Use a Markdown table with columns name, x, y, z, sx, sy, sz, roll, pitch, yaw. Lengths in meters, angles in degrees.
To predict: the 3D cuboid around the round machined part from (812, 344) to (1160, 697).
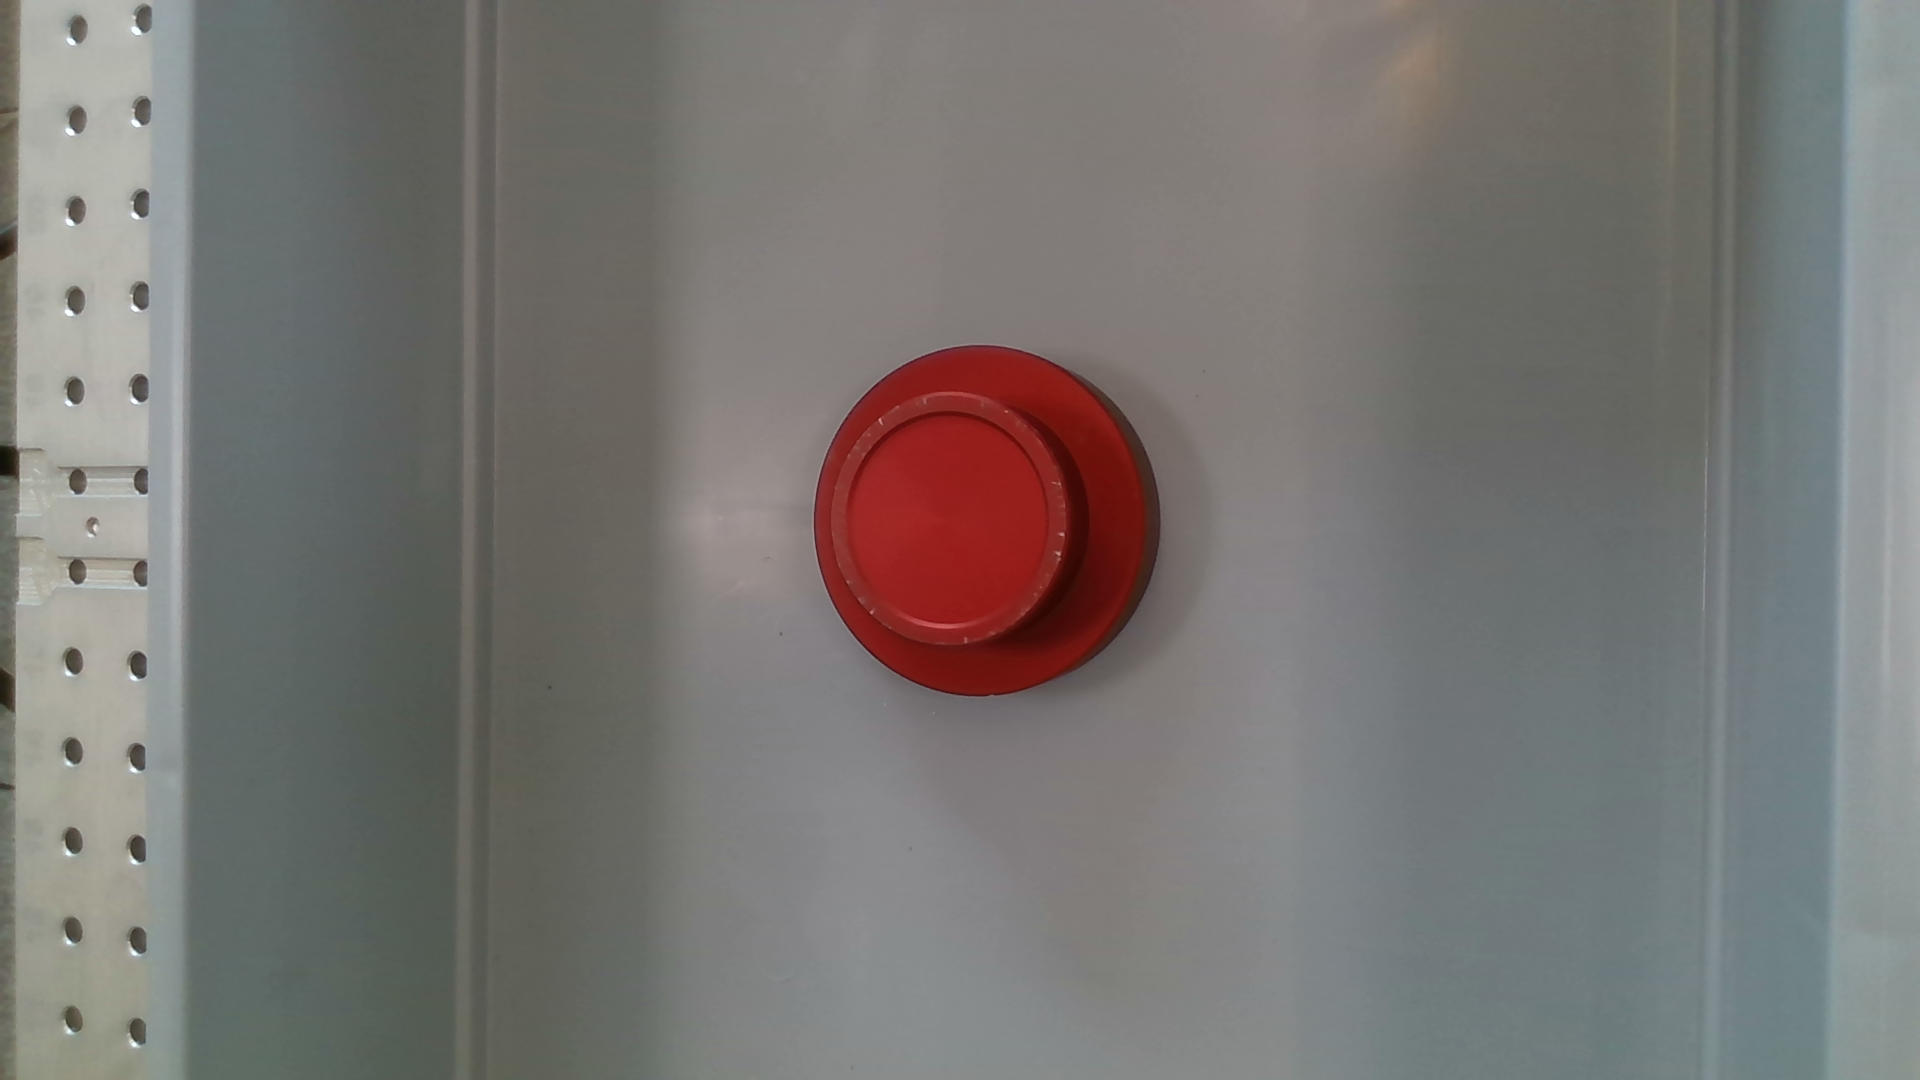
| name | x | y | z | sx | sy | sz | roll | pitch | yaw |
| --- | --- | --- | --- | --- | --- | --- | --- | --- | --- |
| round machined part | 0.003 | -0.005 | 0.381 | 0.098 | 0.042 | 0.098 | 0 | 90 | 20 |
